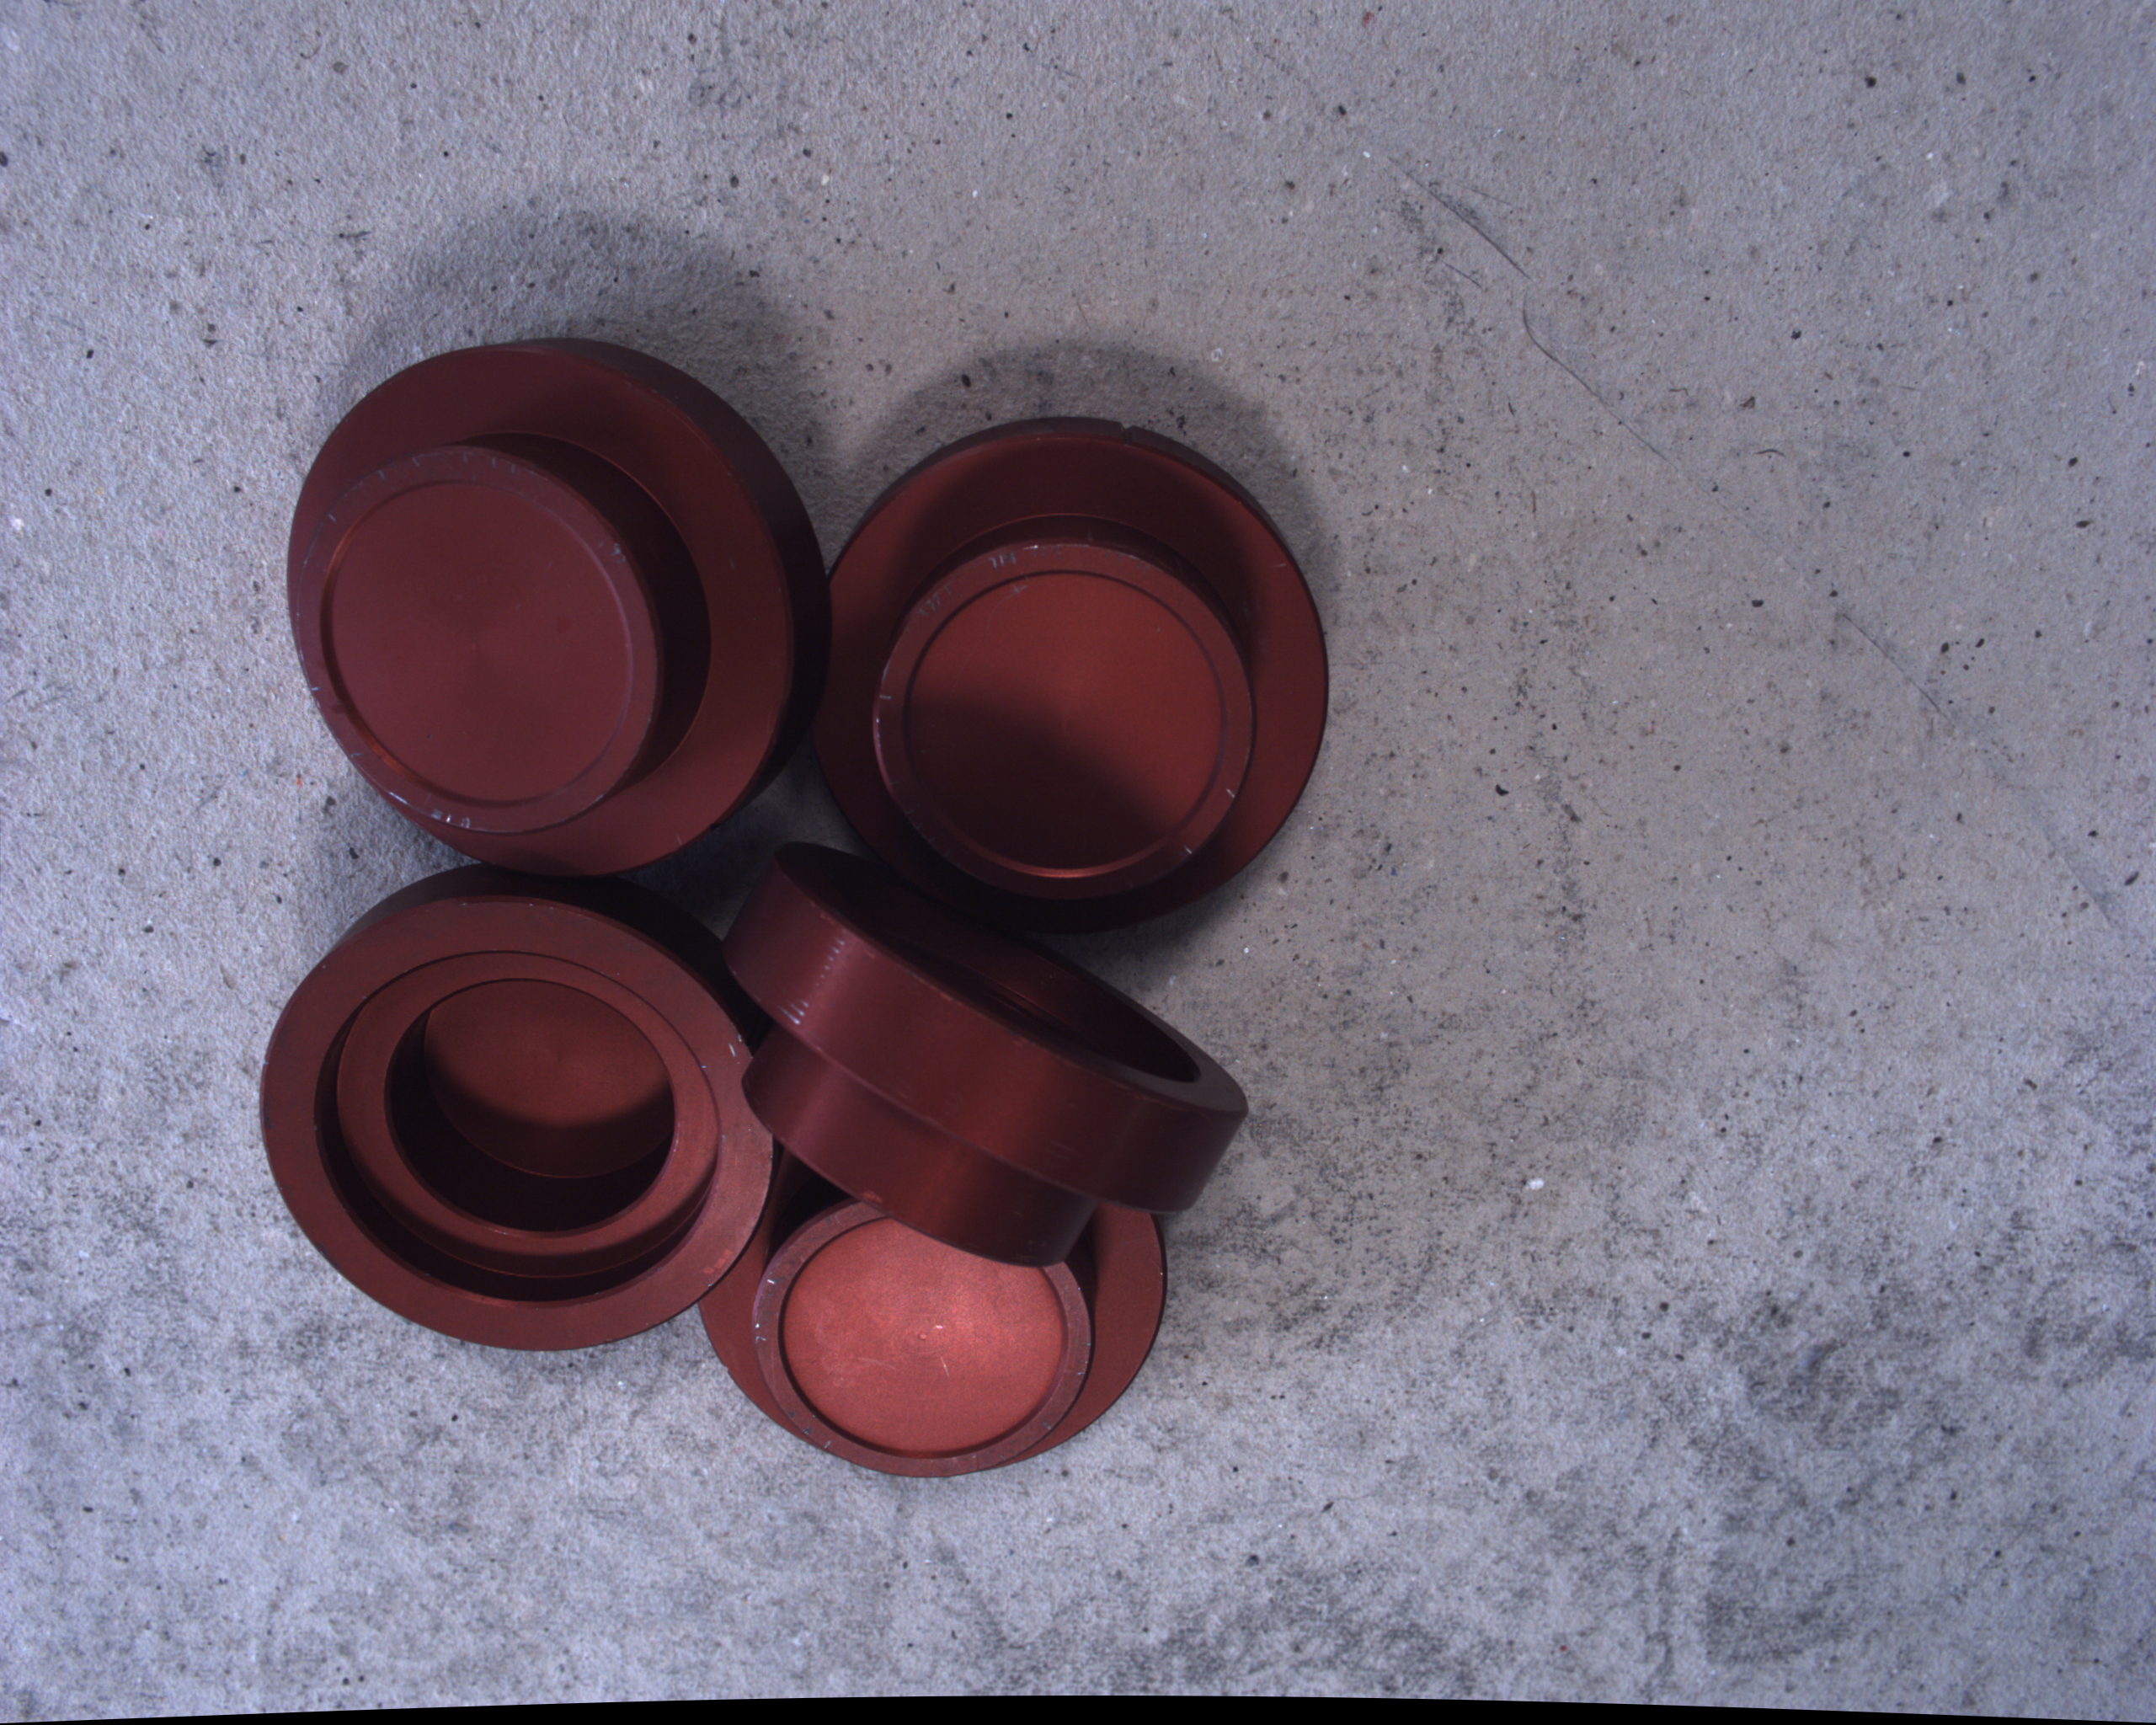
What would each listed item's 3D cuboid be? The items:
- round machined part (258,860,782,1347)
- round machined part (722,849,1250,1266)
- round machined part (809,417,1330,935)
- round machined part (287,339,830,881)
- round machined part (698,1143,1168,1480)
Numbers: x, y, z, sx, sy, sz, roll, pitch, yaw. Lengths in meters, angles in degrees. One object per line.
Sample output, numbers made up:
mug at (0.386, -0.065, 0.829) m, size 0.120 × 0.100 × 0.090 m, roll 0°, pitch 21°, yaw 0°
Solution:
round machined part at (-0.107, 0.044, 0.417) m, size 0.099 × 0.042 × 0.097 m, roll 0°, pitch 112°, yaw 0°
round machined part at (-0.021, 0.038, 0.383) m, size 0.098 × 0.098 × 0.042 m, roll 28°, pitch 94°, yaw -10°
round machined part at (-0.002, -0.031, 0.390) m, size 0.099 × 0.042 × 0.097 m, roll 0°, pitch 109°, yaw -1°
round machined part at (-0.098, -0.043, 0.374) m, size 0.098 × 0.042 × 0.097 m, roll 4°, pitch 109°, yaw 12°
round machined part at (-0.030, 0.088, 0.434) m, size 0.099 × 0.042 × 0.097 m, roll 0°, pitch 109°, yaw -1°
